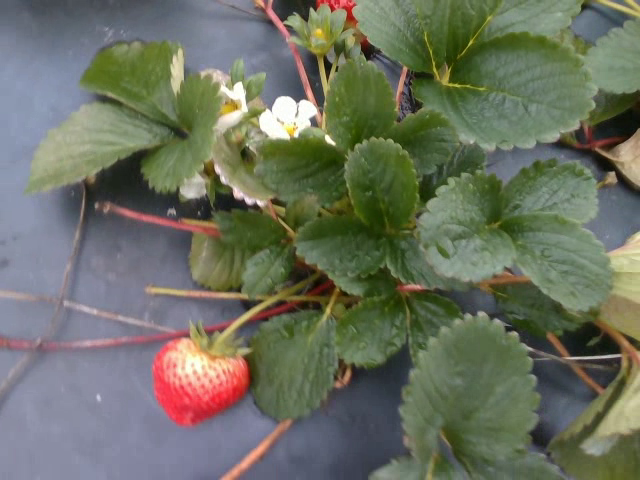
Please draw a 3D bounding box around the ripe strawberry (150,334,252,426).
[{"bbox_3d":[-0.074,0.089,0.336,0.061,0.065,0.049,9,20,-17],"label":"ripe strawberry"}]
